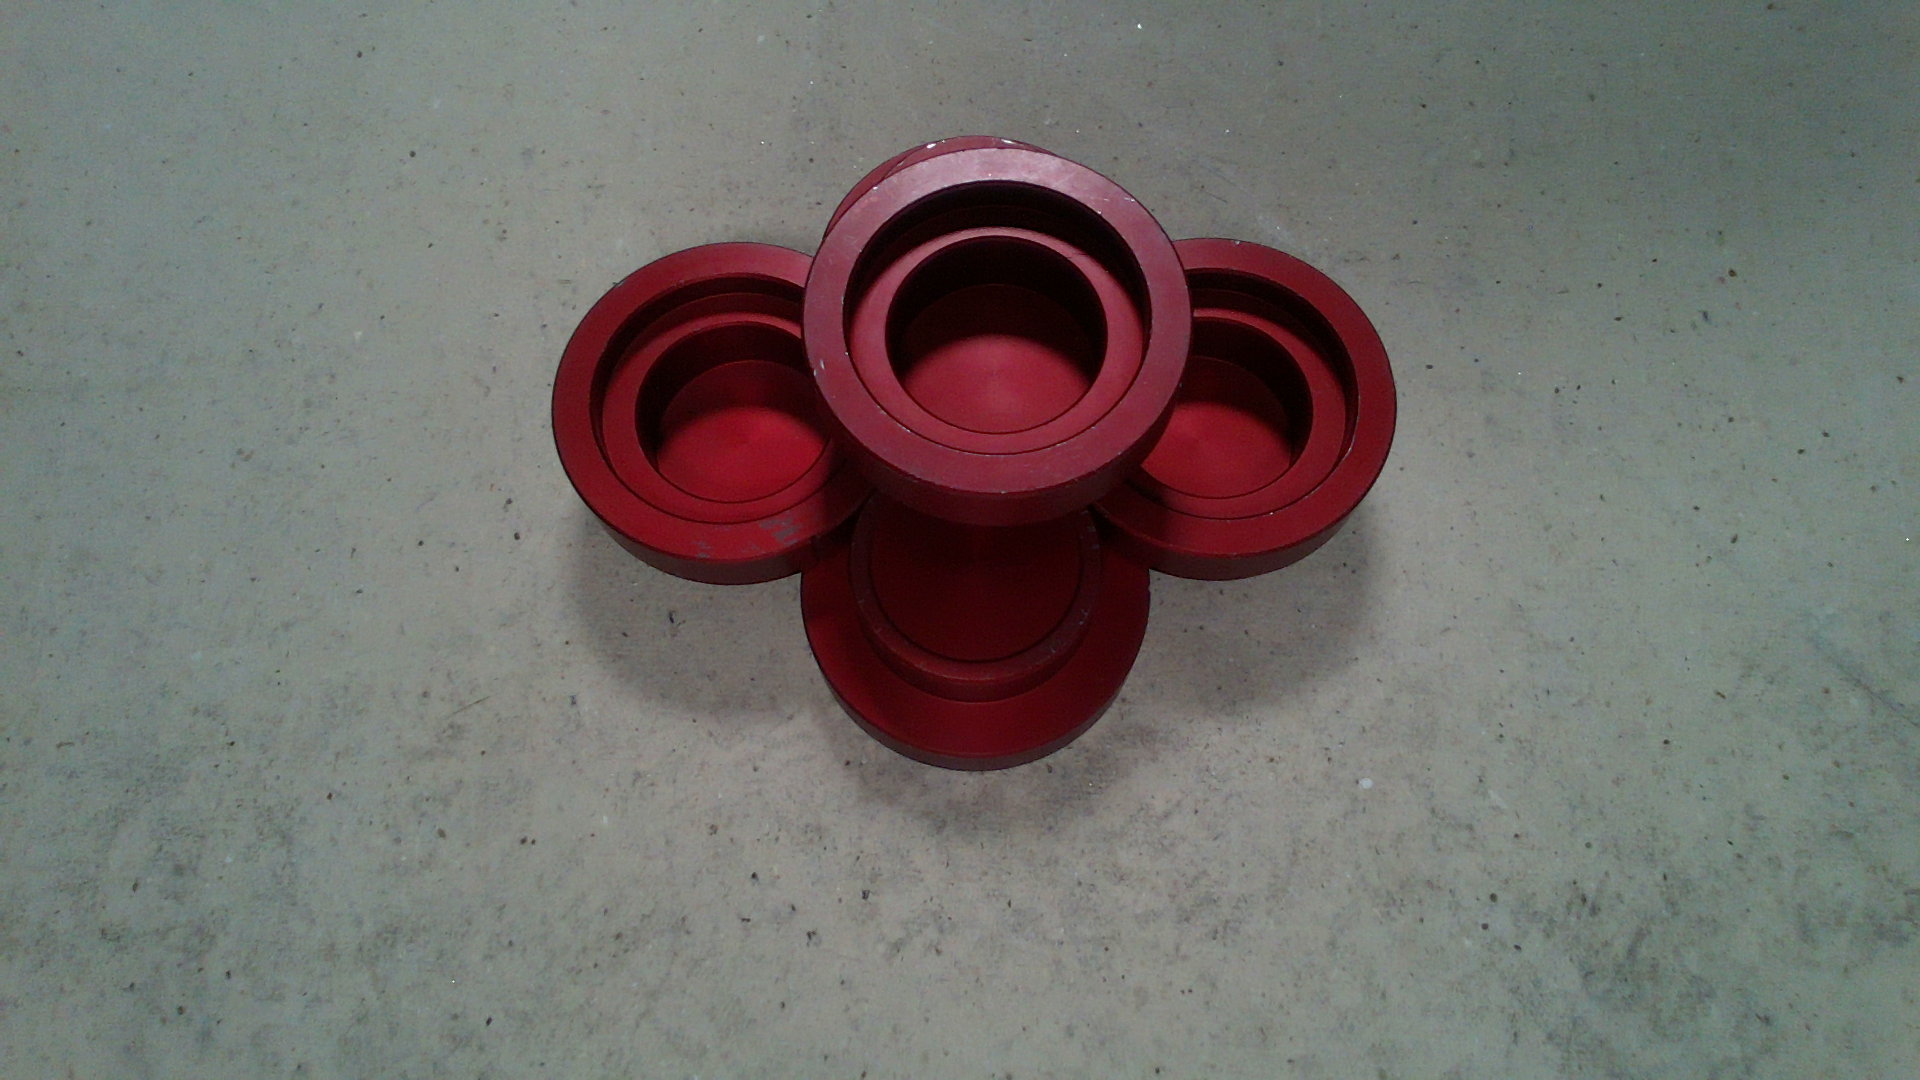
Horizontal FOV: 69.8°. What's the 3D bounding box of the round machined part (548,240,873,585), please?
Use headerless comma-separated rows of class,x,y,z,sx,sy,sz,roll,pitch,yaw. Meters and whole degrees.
round machined part,-0.064,-0.033,0.398,0.098,0.042,0.098,0,70,0

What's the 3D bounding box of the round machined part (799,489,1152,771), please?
round machined part,0.004,0.012,0.381,0.098,0.042,0.098,0,70,0

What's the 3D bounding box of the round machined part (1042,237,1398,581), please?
round machined part,0.072,-0.034,0.398,0.098,0.042,0.098,0,70,0

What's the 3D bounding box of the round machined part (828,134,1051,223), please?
round machined part,0.005,-0.082,0.415,0.098,0.042,0.098,0,70,0

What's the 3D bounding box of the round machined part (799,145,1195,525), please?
round machined part,0.009,-0.049,0.359,0.098,0.042,0.098,0,70,0
